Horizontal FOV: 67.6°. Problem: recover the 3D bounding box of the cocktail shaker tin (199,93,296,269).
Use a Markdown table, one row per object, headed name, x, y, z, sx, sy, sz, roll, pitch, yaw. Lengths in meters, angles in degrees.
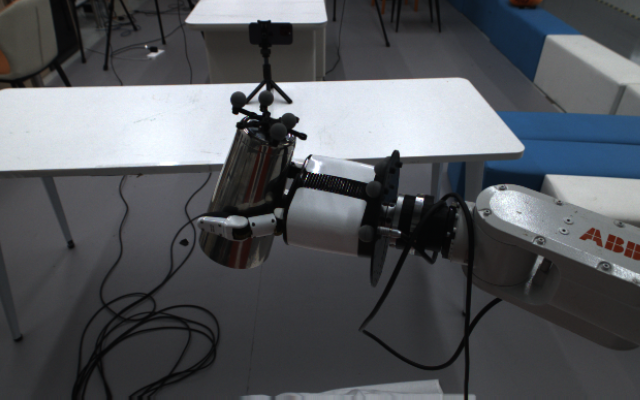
| name | x | y | z | sx | sy | sz | roll | pitch | yaw |
| --- | --- | --- | --- | --- | --- | --- | --- | --- | --- |
| cocktail shaker tin | -0.082 | -0.013 | 0.578 | 0.093 | 0.170 | 0.093 | 16 | 31 | -10 |
